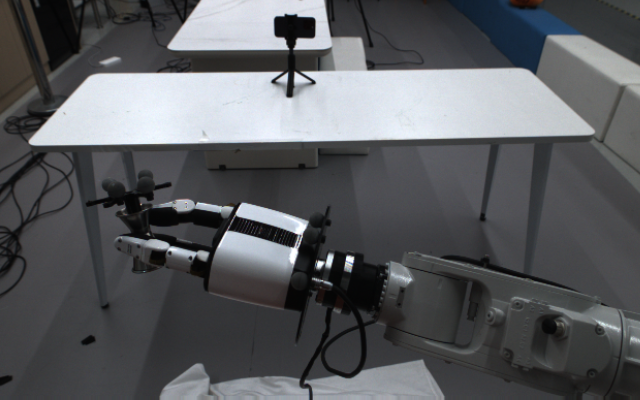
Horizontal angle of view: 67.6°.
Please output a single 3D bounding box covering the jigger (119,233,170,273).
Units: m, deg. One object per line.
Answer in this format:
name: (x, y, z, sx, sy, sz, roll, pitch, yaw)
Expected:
jigger: (-0.195, 0.042, 0.545, 0.043, 0.071, 0.043, -11, 16, 3)
